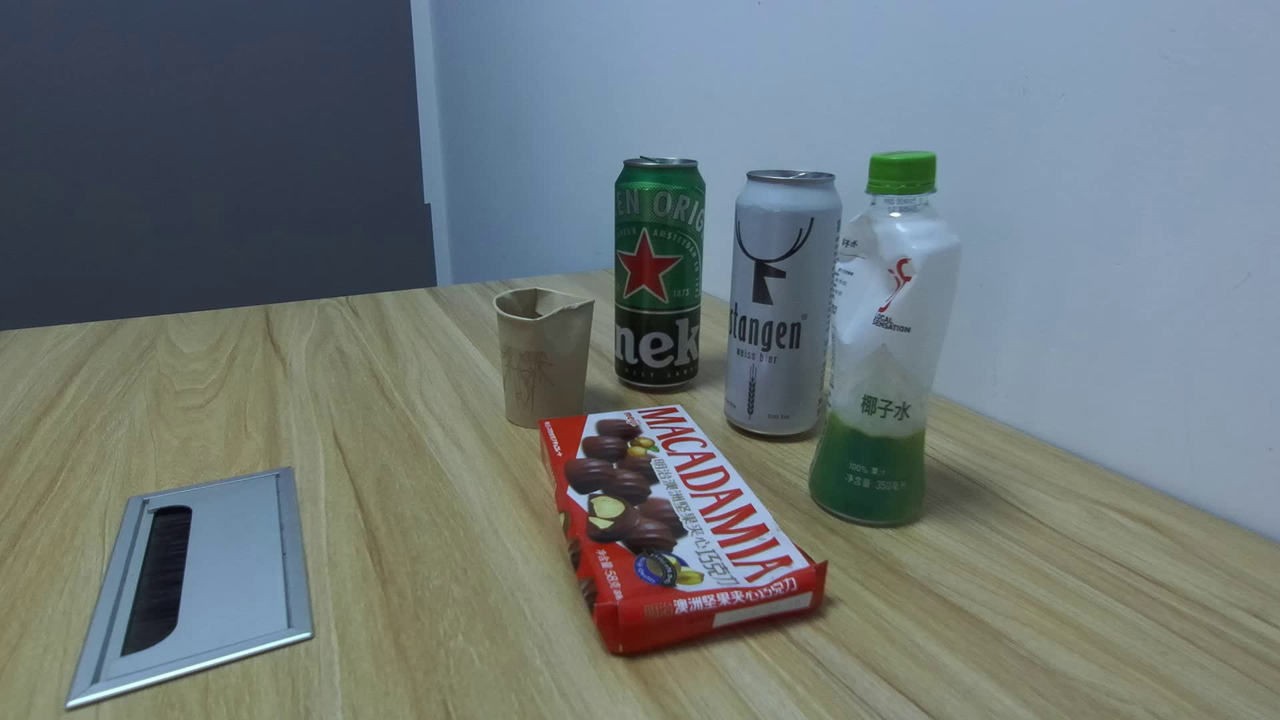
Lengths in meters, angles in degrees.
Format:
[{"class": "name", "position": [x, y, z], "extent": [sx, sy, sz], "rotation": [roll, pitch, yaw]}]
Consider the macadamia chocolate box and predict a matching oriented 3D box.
[{"class": "macadamia chocolate box", "position": [0.009, 0.075, 0.370], "extent": [0.106, 0.028, 0.182], "rotation": [-6, 24, -16]}]

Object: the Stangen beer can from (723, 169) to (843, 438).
[{"class": "Stangen beer can", "position": [0.092, -0.034, 0.462], "extent": [0.067, 0.171, 0.067], "rotation": [1, 19, 0]}]

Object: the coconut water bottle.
[{"class": "coconut water bottle", "position": [0.127, -0.010, 0.366], "extent": [0.069, 0.187, 0.069], "rotation": [1, 21, 0]}]

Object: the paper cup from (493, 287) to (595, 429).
[{"class": "paper cup", "position": [-0.070, -0.001, 0.488], "extent": [0.066, 0.084, 0.072], "rotation": [17, 24, 38]}]

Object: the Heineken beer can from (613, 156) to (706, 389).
[{"class": "Heineken beer can", "position": [0.014, -0.063, 0.537], "extent": [0.067, 0.169, 0.067], "rotation": [1, 18, 0]}]
